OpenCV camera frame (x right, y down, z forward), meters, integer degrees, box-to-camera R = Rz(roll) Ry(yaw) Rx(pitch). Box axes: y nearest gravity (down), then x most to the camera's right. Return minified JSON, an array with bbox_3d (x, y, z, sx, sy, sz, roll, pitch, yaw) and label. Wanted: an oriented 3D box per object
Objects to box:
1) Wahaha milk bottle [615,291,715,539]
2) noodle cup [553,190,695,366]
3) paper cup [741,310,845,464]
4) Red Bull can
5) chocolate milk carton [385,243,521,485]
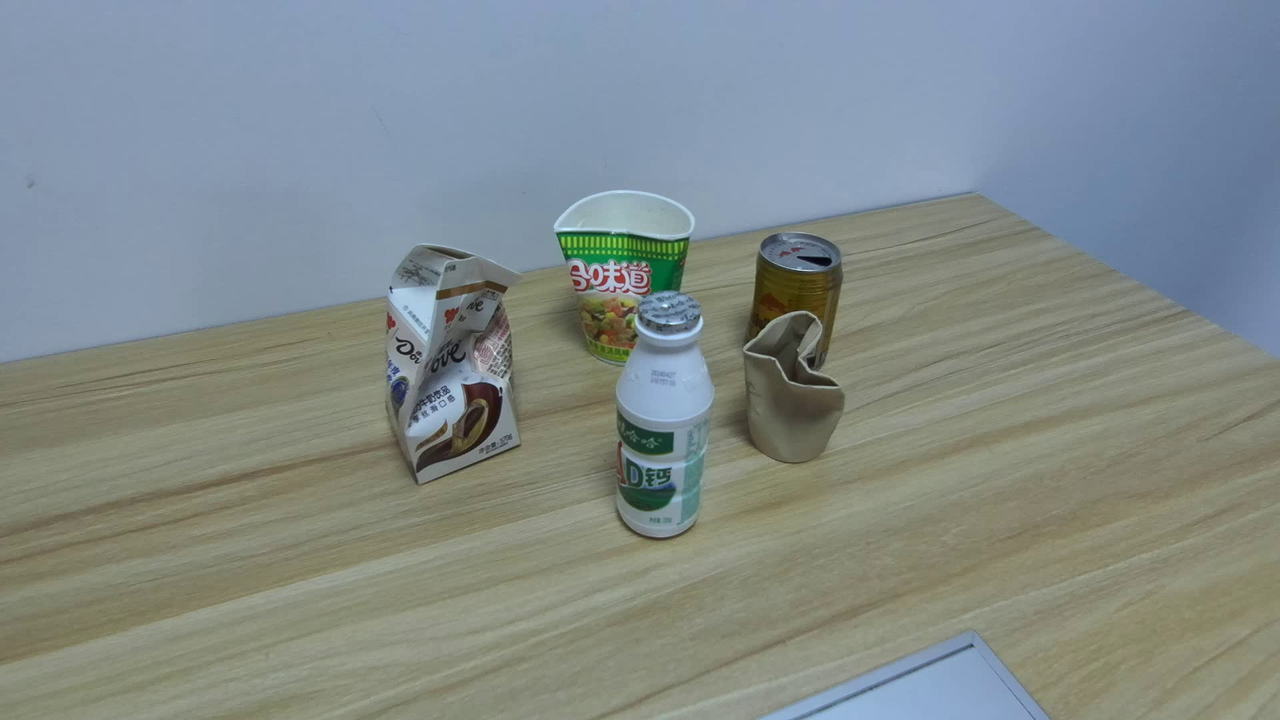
[{"bbox_3d":[0.013,0.033,0.388,0.053,0.147,0.053,0,37,0],"label":"Wahaha milk bottle"},{"bbox_3d":[-0.005,-0.062,0.543,0.093,0.109,0.087,20,43,23],"label":"noodle cup"},{"bbox_3d":[0.103,0.022,0.457,0.058,0.083,0.066,29,47,28],"label":"paper cup"},{"bbox_3d":[0.114,-0.041,0.533,0.068,0.093,0.068,1,35,0],"label":"Red Bull can"},{"bbox_3d":[-0.117,-0.006,0.445,0.090,0.155,0.076,-10,40,-36],"label":"chocolate milk carton"}]
